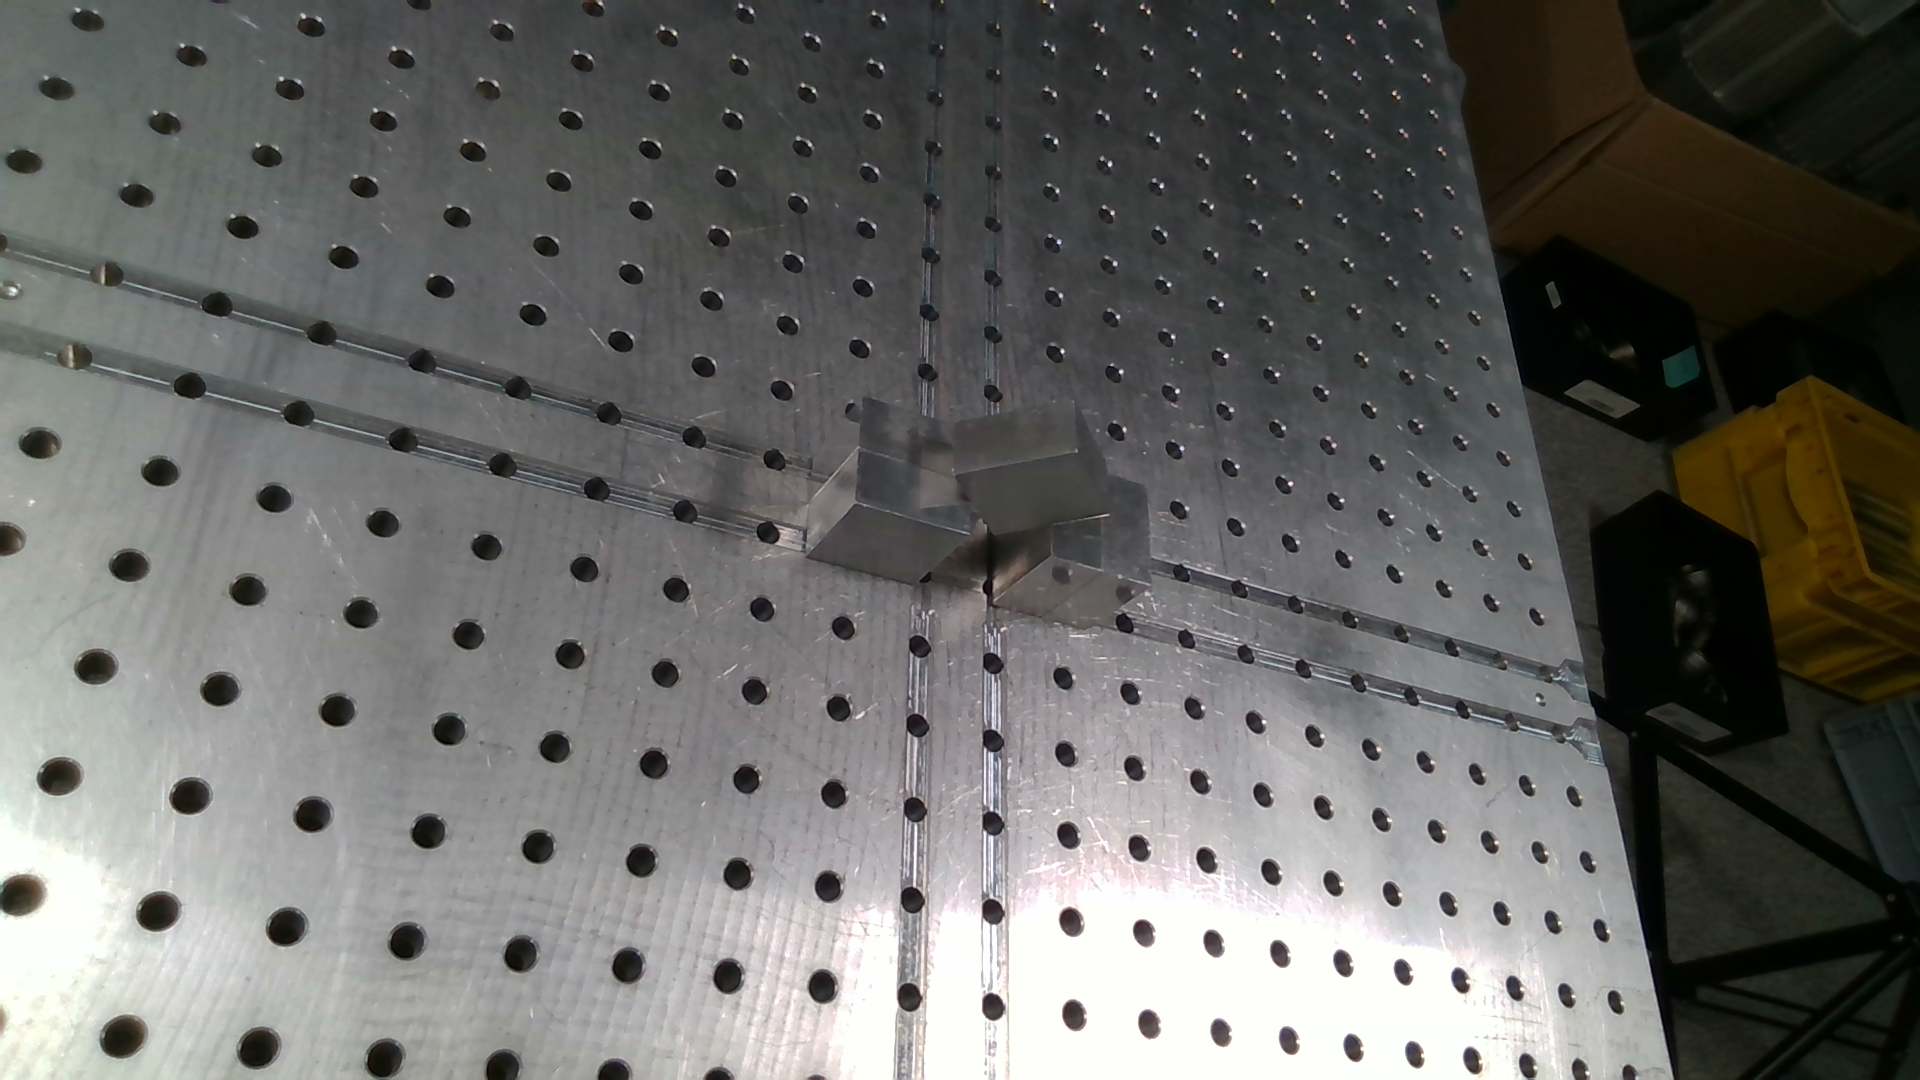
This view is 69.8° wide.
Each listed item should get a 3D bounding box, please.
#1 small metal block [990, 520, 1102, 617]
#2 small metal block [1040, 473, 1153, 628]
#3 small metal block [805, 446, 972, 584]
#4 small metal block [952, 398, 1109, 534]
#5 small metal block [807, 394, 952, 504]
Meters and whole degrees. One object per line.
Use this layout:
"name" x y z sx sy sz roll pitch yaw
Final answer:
"small metal block" 0.037 -0.002 0.596 0.025 0.050 0.050 16 58 -24
"small metal block" 0.059 0.005 0.606 0.025 0.050 0.050 16 58 -24
"small metal block" -0.029 -0.009 0.558 0.050 0.050 0.025 16 58 -24
"small metal block" 0.029 -0.028 0.552 0.050 0.050 0.025 55 30 -56
"small metal block" -0.030 -0.030 0.571 0.050 0.050 0.025 16 58 -24
